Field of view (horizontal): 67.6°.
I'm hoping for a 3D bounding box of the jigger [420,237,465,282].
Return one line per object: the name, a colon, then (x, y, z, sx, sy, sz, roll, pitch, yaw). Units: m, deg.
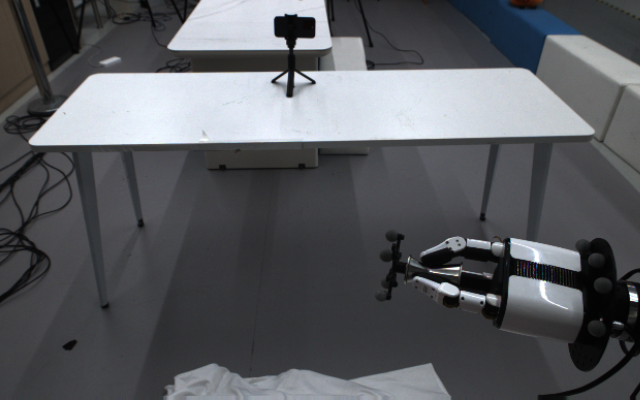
jigger: (0.153, 0.092, 0.626, 0.071, 0.043, 0.043, 9, 35, 17)
